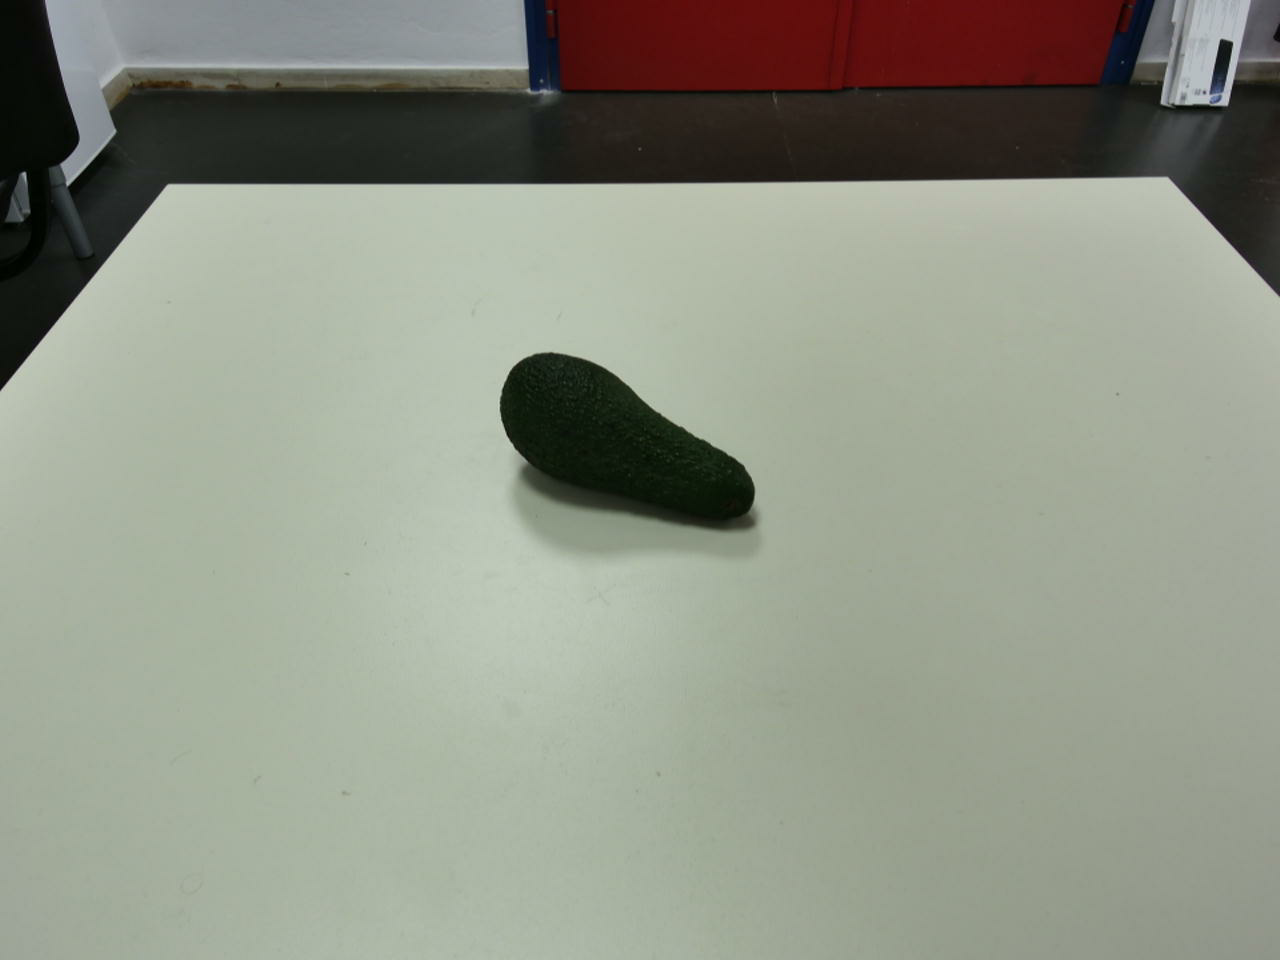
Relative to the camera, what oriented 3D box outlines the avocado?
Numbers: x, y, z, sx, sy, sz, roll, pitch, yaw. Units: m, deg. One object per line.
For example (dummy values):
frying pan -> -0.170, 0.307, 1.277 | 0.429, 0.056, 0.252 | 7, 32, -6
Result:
avocado -> -0.006, -0.027, 0.511 | 0.141, 0.067, 0.063 | 10, 40, 12
